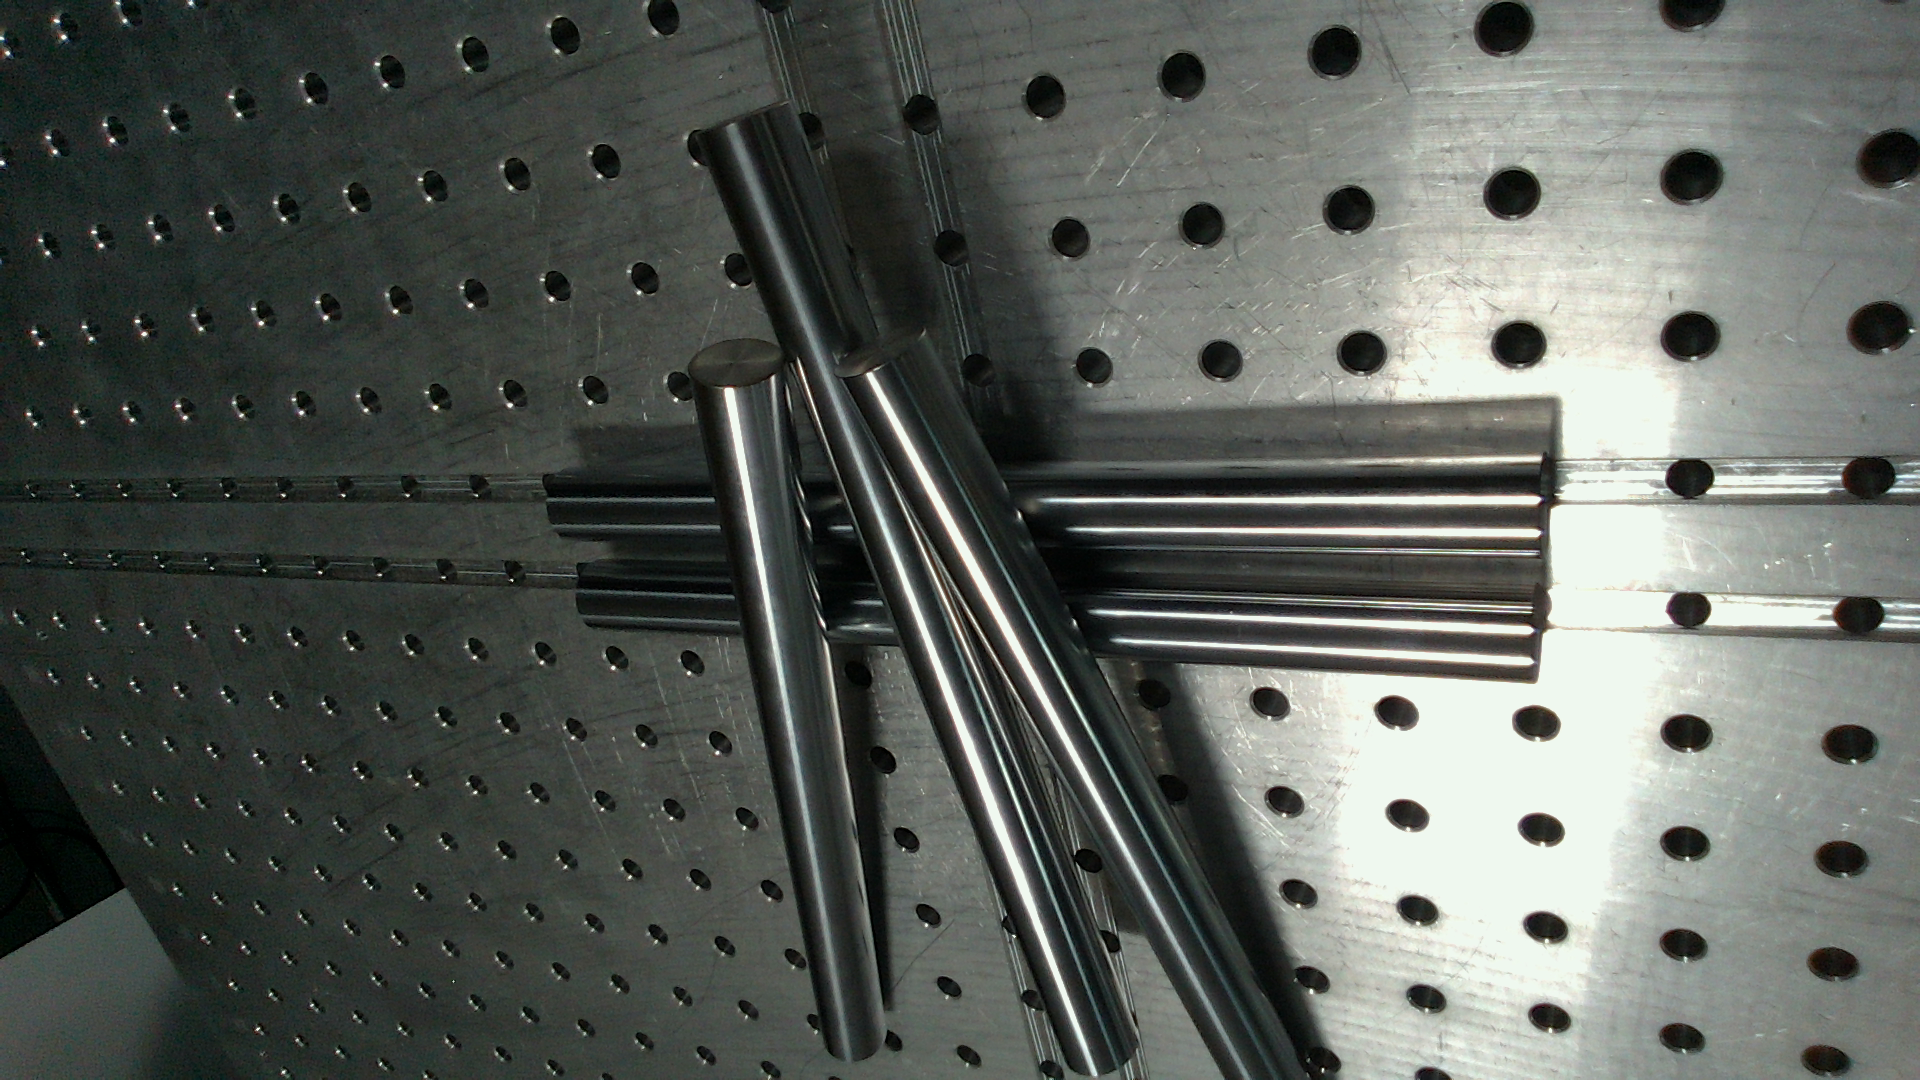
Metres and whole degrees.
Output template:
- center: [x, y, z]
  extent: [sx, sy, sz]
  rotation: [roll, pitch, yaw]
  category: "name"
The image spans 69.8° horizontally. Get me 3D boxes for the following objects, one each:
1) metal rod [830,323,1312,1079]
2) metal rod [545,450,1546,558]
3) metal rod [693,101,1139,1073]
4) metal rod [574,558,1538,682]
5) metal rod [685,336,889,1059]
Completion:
- center: [0.045, 0.074, 0.393]
  extent: [0.025, 0.025, 0.300]
  rotation: [-11, 120, 33]
  category: "metal rod"
- center: [0.003, -0.010, 0.389]
  extent: [0.299, 0.025, 0.025]
  rotation: [1, 119, 28]
  category: "metal rod"
- center: [-0.003, 0.030, 0.384]
  extent: [0.025, 0.025, 0.300]
  rotation: [-6, 115, 31]
  category: "metal rod"
- center: [0.008, 0.020, 0.405]
  extent: [0.299, 0.025, 0.025]
  rotation: [1, 119, 28]
  category: "metal rod"
- center: [-0.049, 0.072, 0.443]
  extent: [0.025, 0.025, 0.300]
  rotation: [13, 131, 21]
  category: "metal rod"
